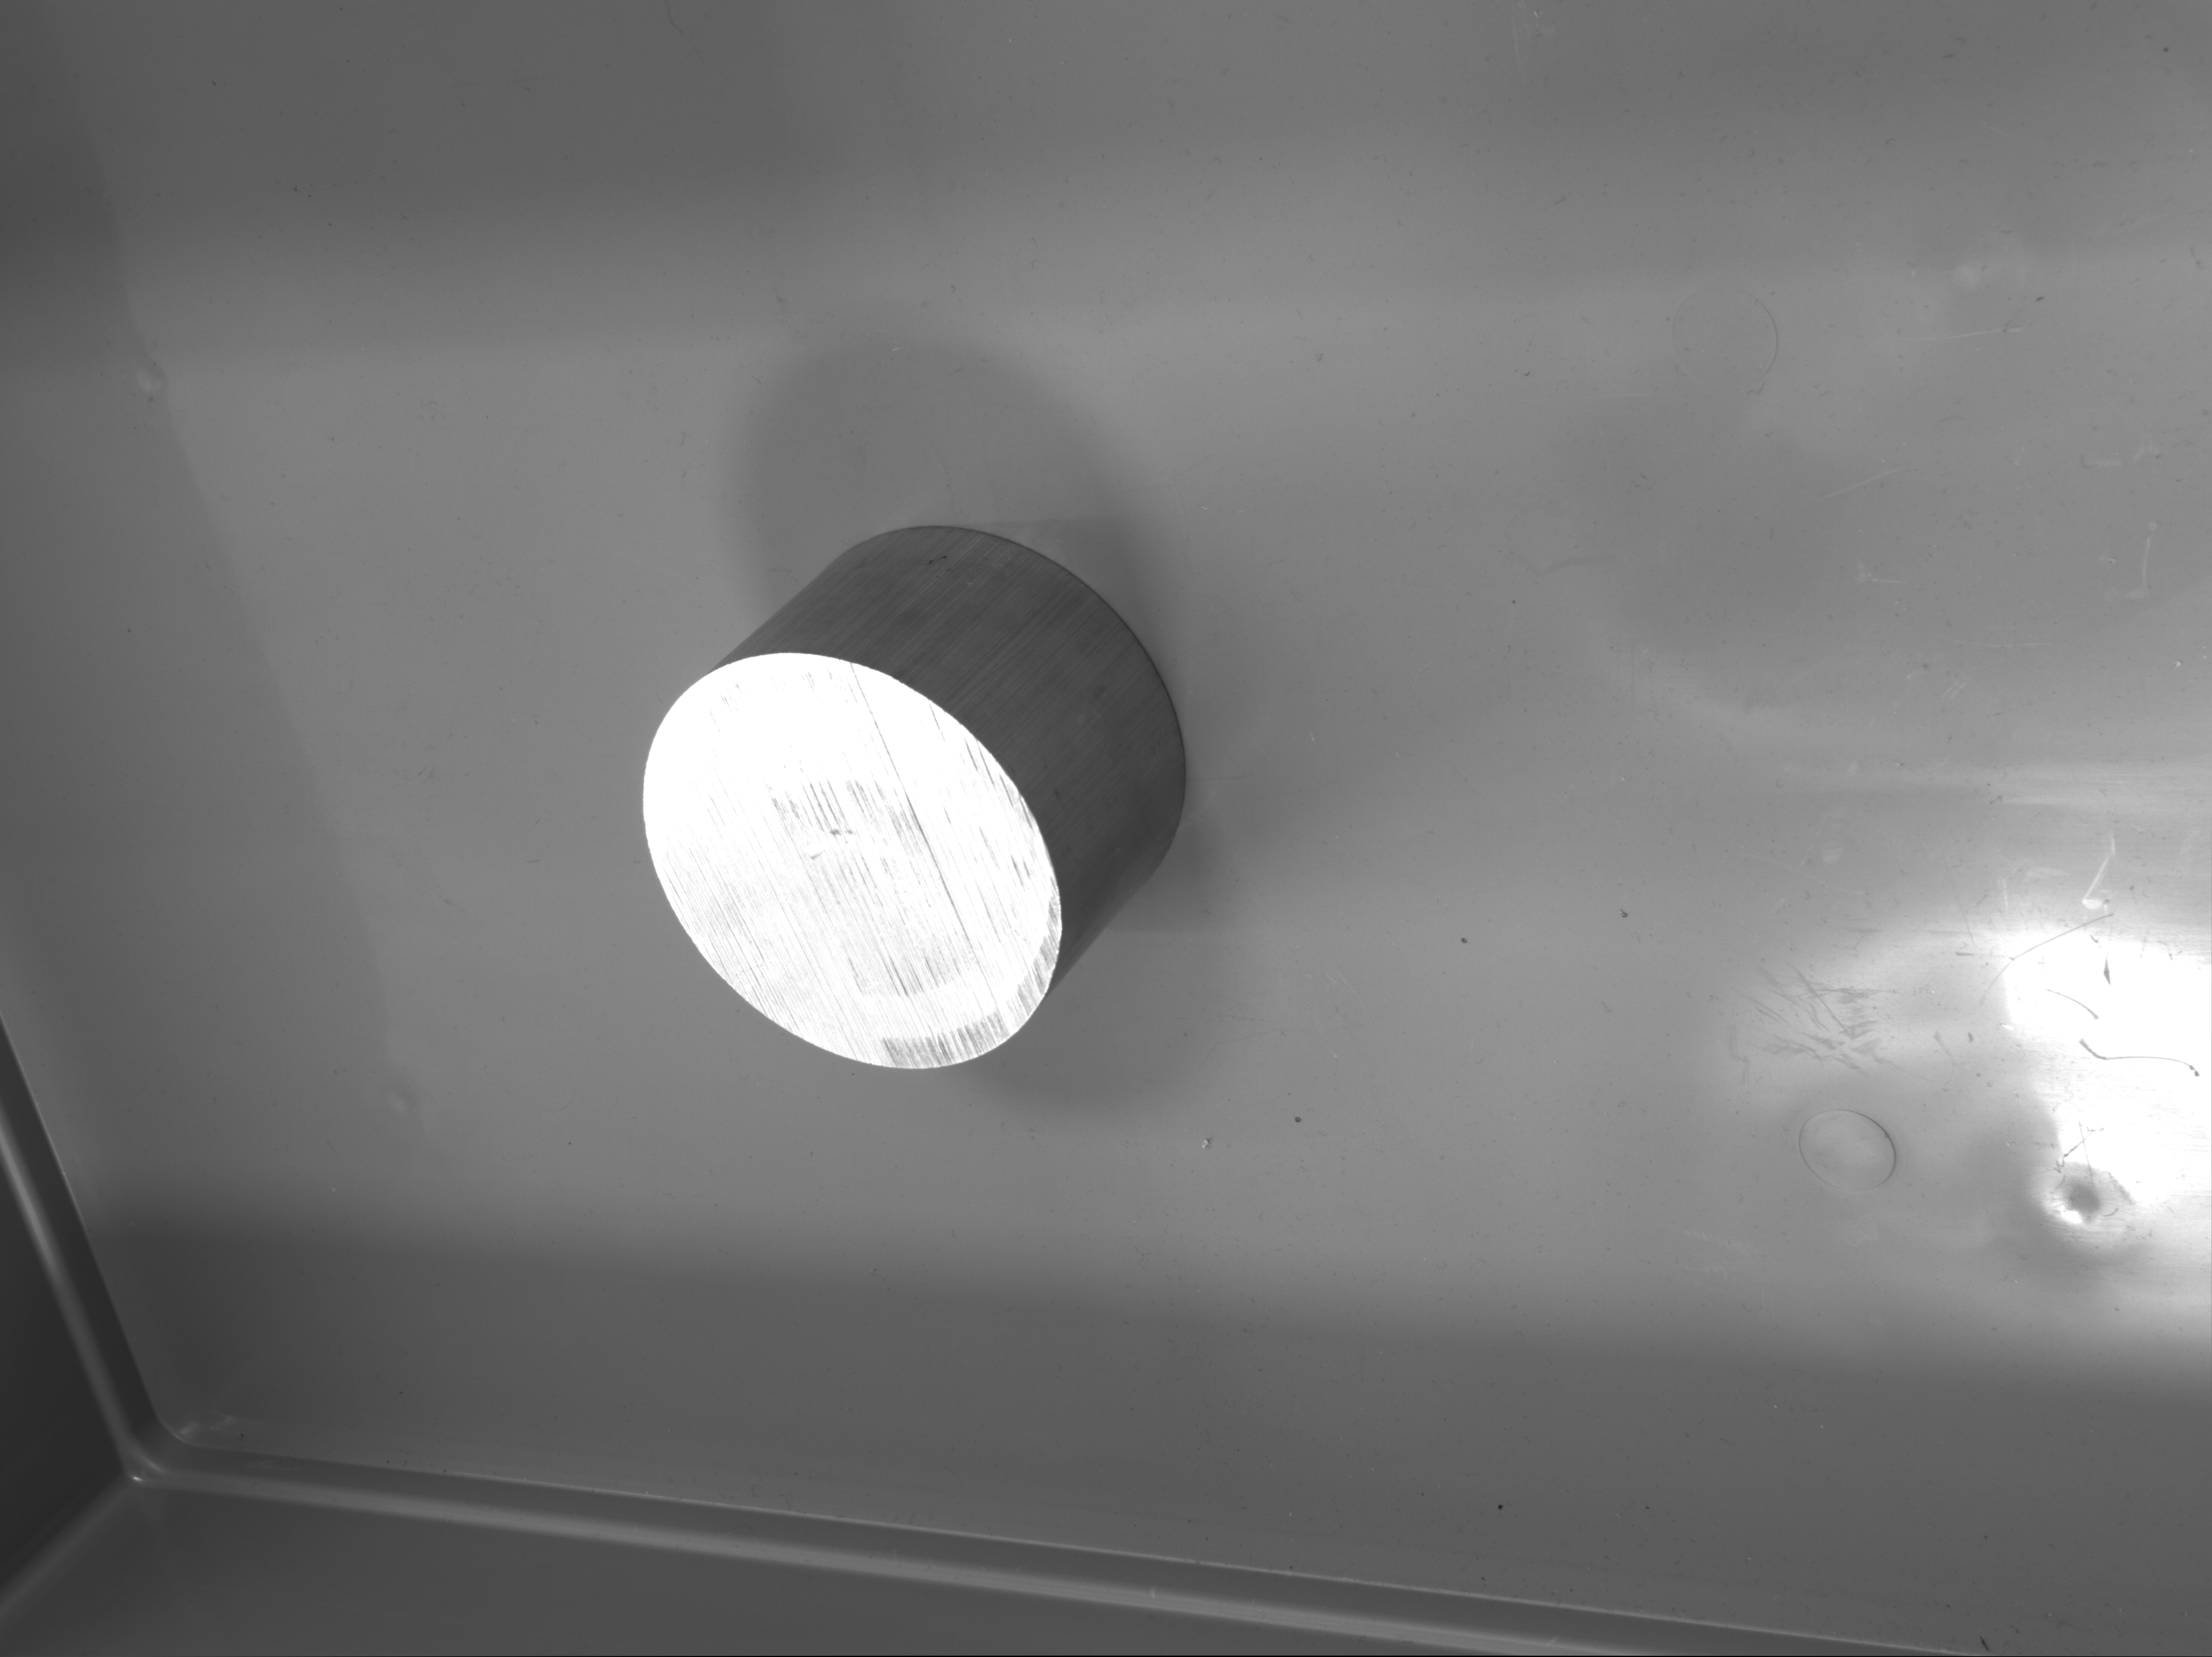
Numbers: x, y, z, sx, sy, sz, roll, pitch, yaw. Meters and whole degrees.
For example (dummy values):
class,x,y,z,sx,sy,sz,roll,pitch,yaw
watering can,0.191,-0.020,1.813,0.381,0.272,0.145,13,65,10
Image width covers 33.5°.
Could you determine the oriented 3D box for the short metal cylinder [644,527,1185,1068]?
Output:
class,x,y,z,sx,sy,sz,roll,pitch,yaw
short metal cylinder,-0.033,-0.006,0.639,0.080,0.050,0.080,13,124,21
